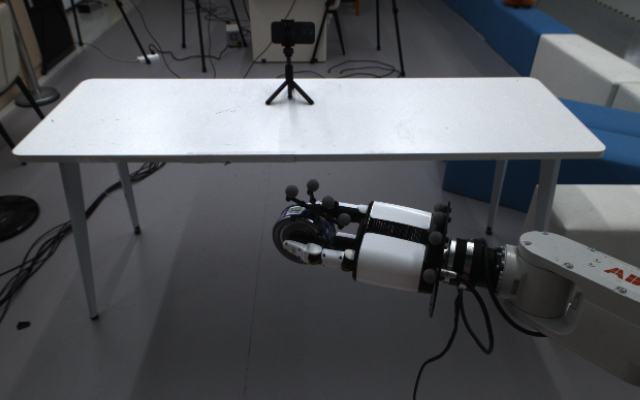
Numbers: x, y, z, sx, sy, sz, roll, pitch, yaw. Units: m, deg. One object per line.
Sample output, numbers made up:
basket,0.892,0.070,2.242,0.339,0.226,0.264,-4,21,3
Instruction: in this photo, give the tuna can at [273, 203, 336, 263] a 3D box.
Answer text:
tuna can,-0.022,0.048,0.683,0.085,0.085,0.034,12,35,14
